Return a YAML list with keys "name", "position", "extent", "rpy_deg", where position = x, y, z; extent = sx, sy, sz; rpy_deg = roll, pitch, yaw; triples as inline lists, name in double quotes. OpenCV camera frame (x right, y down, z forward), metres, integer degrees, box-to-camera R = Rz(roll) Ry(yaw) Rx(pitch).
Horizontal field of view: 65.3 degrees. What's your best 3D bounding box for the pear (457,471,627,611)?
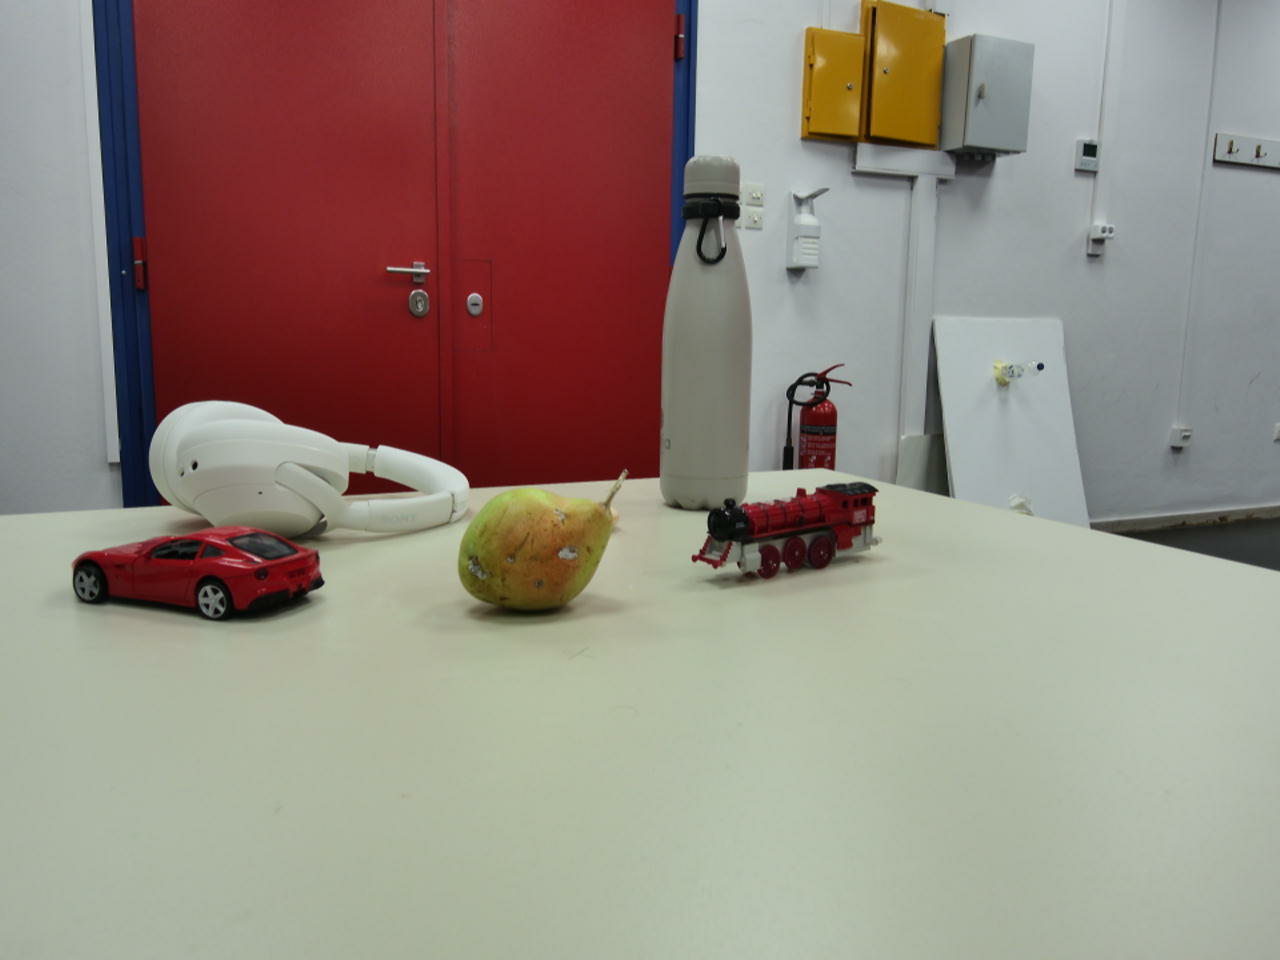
- name: "pear"
  position: [-0.052, 0.031, 0.506]
  extent: [0.070, 0.069, 0.068]
  rpy_deg: [3, 7, 26]
